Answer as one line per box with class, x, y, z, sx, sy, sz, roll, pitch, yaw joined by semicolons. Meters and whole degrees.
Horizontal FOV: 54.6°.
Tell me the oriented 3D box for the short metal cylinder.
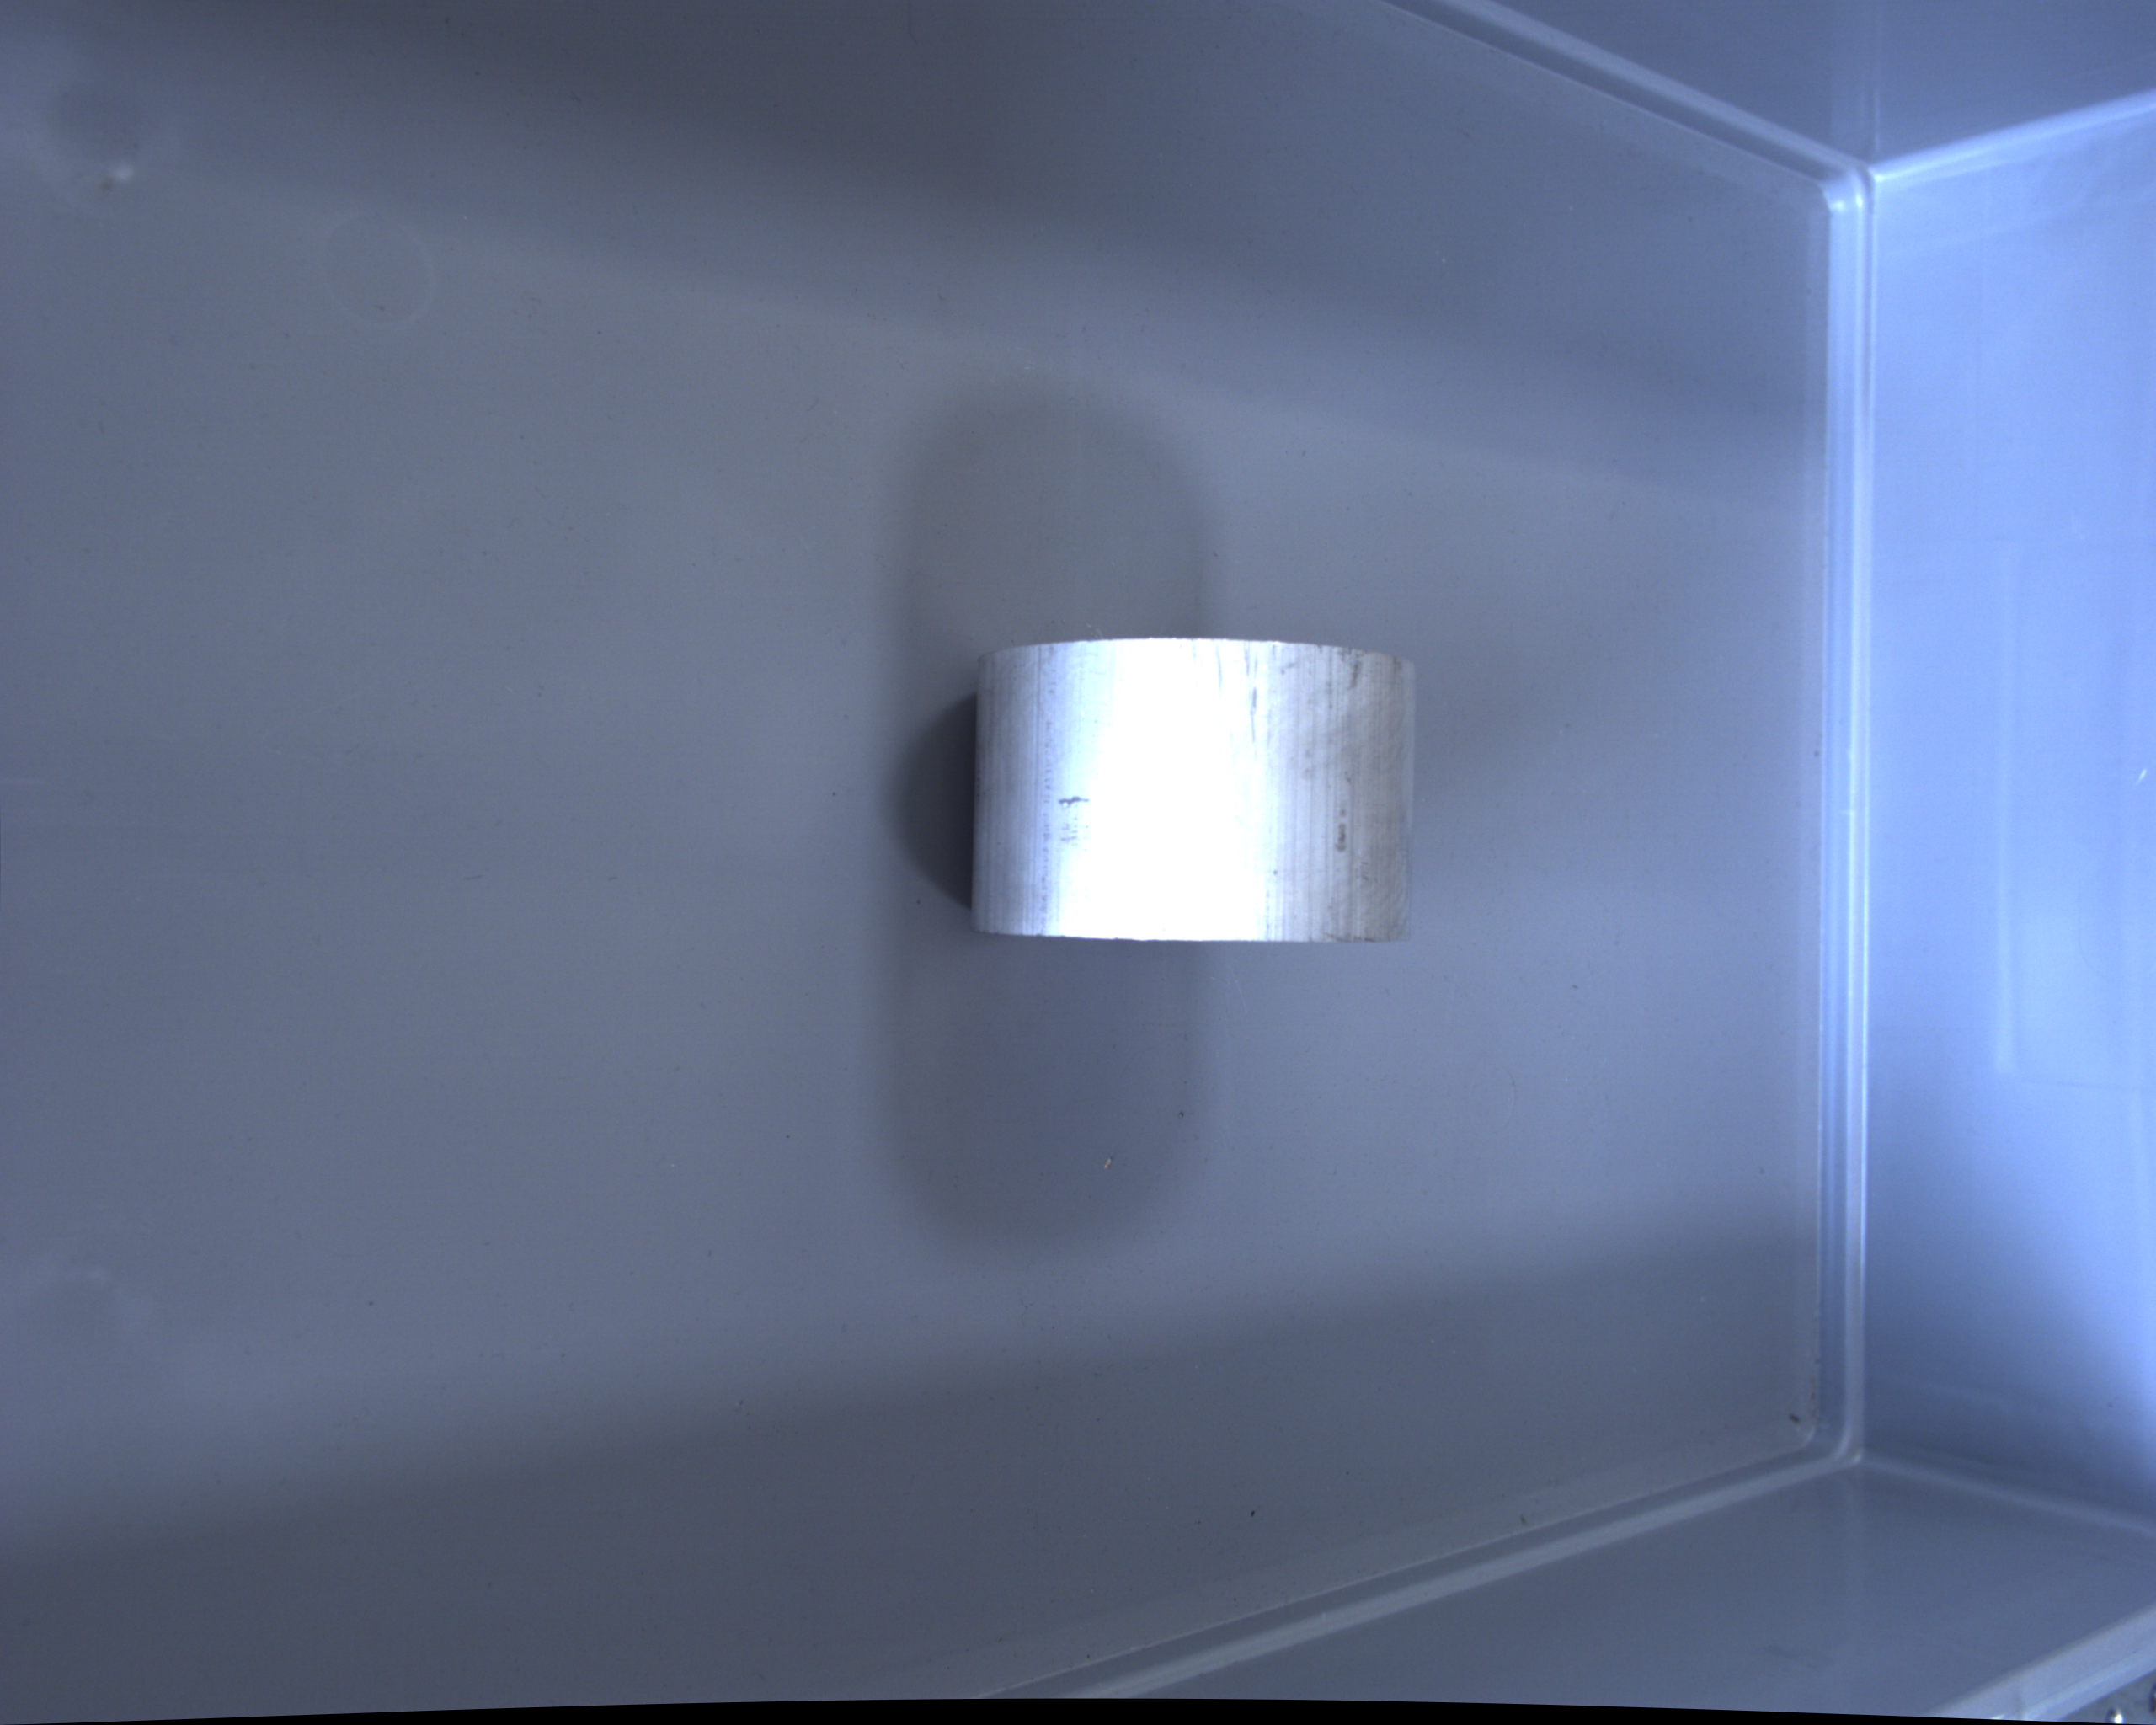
short metal cylinder;0.021;-0.011;0.384;0.081;0.080;0.050;2;89;-40
